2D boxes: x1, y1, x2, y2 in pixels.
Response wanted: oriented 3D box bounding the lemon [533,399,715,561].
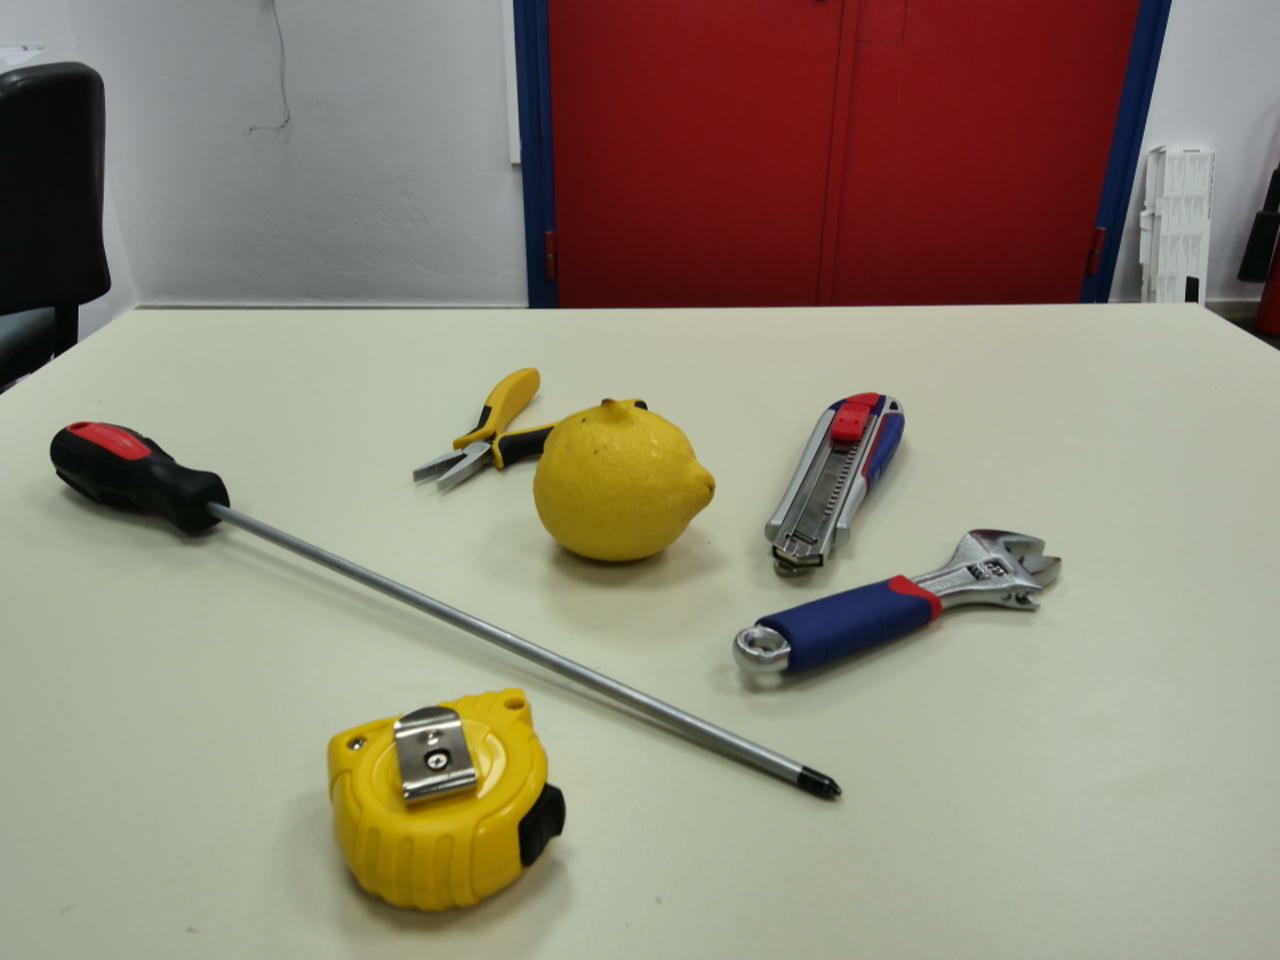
[{"bbox_3d":[-0.010,-0.002,0.428,0.070,0.071,0.071,-17,29,-31],"label":"lemon"}]
